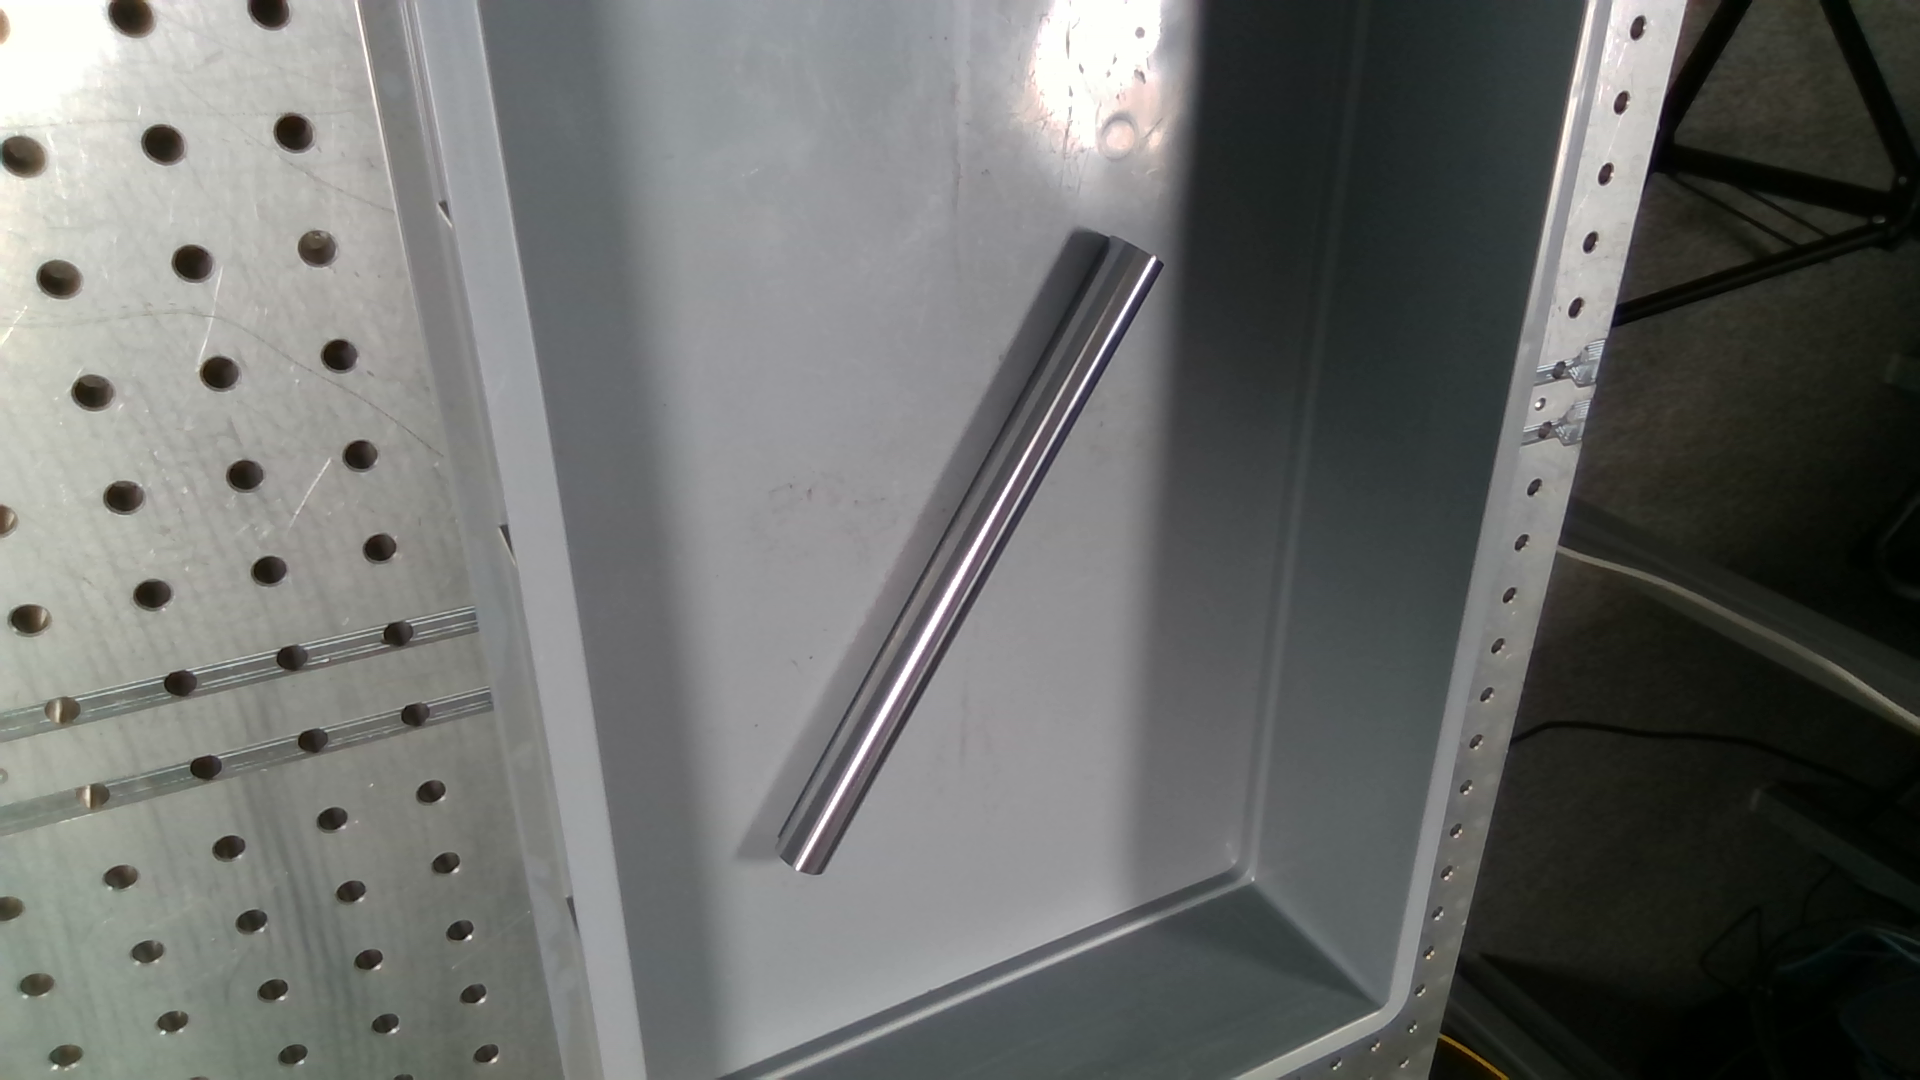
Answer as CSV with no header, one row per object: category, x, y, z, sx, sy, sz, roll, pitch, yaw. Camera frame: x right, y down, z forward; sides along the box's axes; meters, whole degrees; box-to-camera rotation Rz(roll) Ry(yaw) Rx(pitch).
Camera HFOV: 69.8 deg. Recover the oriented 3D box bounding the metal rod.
metal rod,0.000,0.011,0.585,0.025,0.025,0.300,21,103,-37
